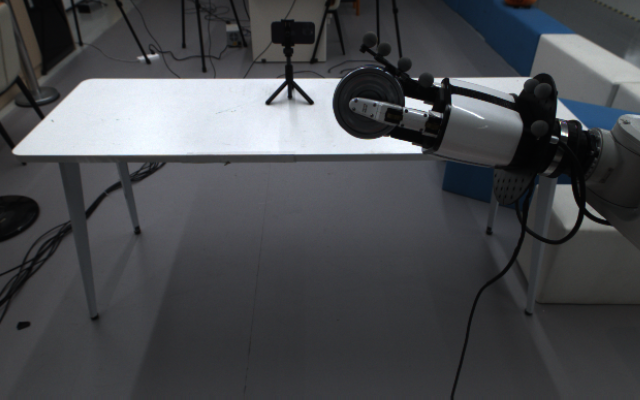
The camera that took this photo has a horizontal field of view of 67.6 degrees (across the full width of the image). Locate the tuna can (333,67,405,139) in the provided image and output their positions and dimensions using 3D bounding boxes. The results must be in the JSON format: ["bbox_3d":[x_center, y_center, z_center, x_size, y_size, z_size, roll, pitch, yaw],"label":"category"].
[{"bbox_3d":[0.062,-0.111,0.576,0.085,0.085,0.034,6,19,6],"label":"tuna can"}]
